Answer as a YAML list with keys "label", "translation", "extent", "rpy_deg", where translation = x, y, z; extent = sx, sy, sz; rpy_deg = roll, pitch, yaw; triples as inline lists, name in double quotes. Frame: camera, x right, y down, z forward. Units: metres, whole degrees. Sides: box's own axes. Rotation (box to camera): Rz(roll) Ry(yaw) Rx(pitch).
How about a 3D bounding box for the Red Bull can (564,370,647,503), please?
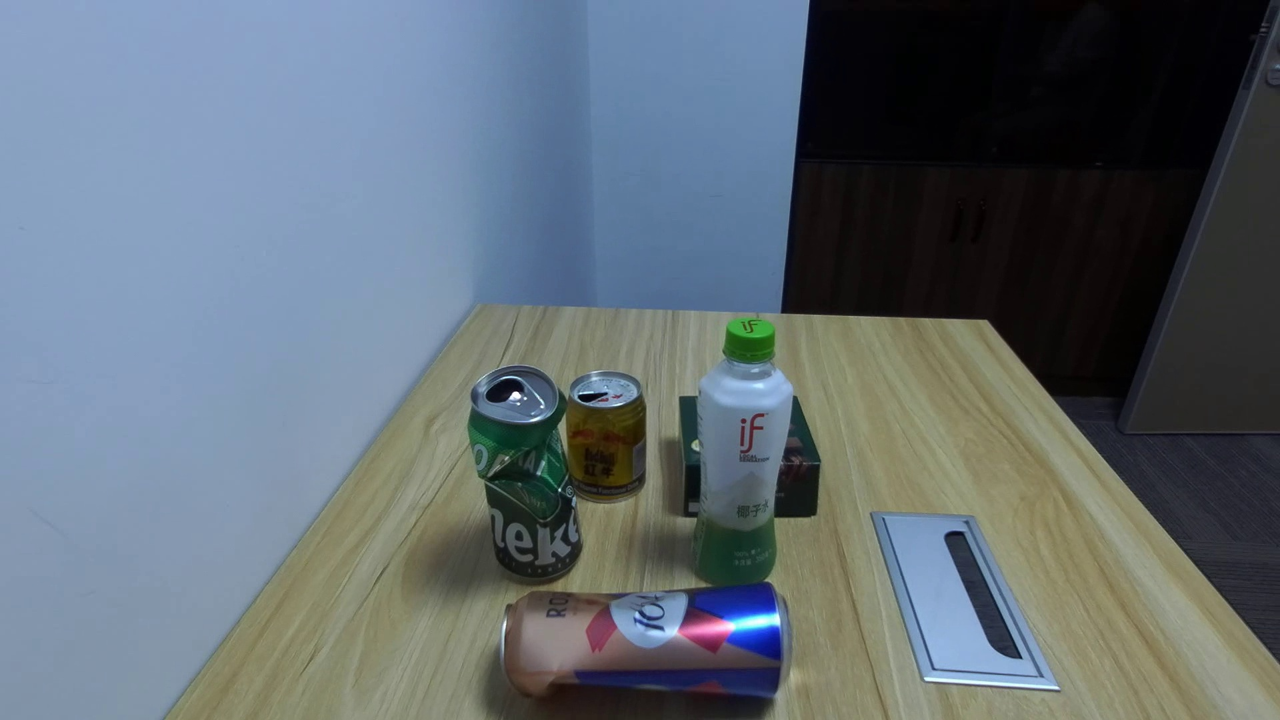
- label: "Red Bull can"
  translation: [-0.028, 0.062, 0.589]
  extent: [0.069, 0.092, 0.069]
  rpy_deg: [0, 29, 0]

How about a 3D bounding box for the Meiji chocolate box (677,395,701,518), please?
- label: "Meiji chocolate box"
  translation: [0.091, 0.080, 0.605]
  extent: [0.109, 0.056, 0.110]
  rpy_deg: [-1, 27, 1]

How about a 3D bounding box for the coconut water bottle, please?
- label: "coconut water bottle"
  translation: [0.070, 0.064, 0.481]
  extent: [0.063, 0.189, 0.063]
  rpy_deg: [1, 26, 0]

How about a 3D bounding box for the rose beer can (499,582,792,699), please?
- label: "rose beer can"
  translation: [0.004, 0.165, 0.420]
  extent: [0.168, 0.069, 0.070]
  rpy_deg: [-1, 46, 1]

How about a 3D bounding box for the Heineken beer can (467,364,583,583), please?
- label: "Heineken beer can"
  translation: [-0.079, 0.081, 0.494]
  extent: [0.067, 0.159, 0.078]
  rpy_deg: [-13, 35, -18]
